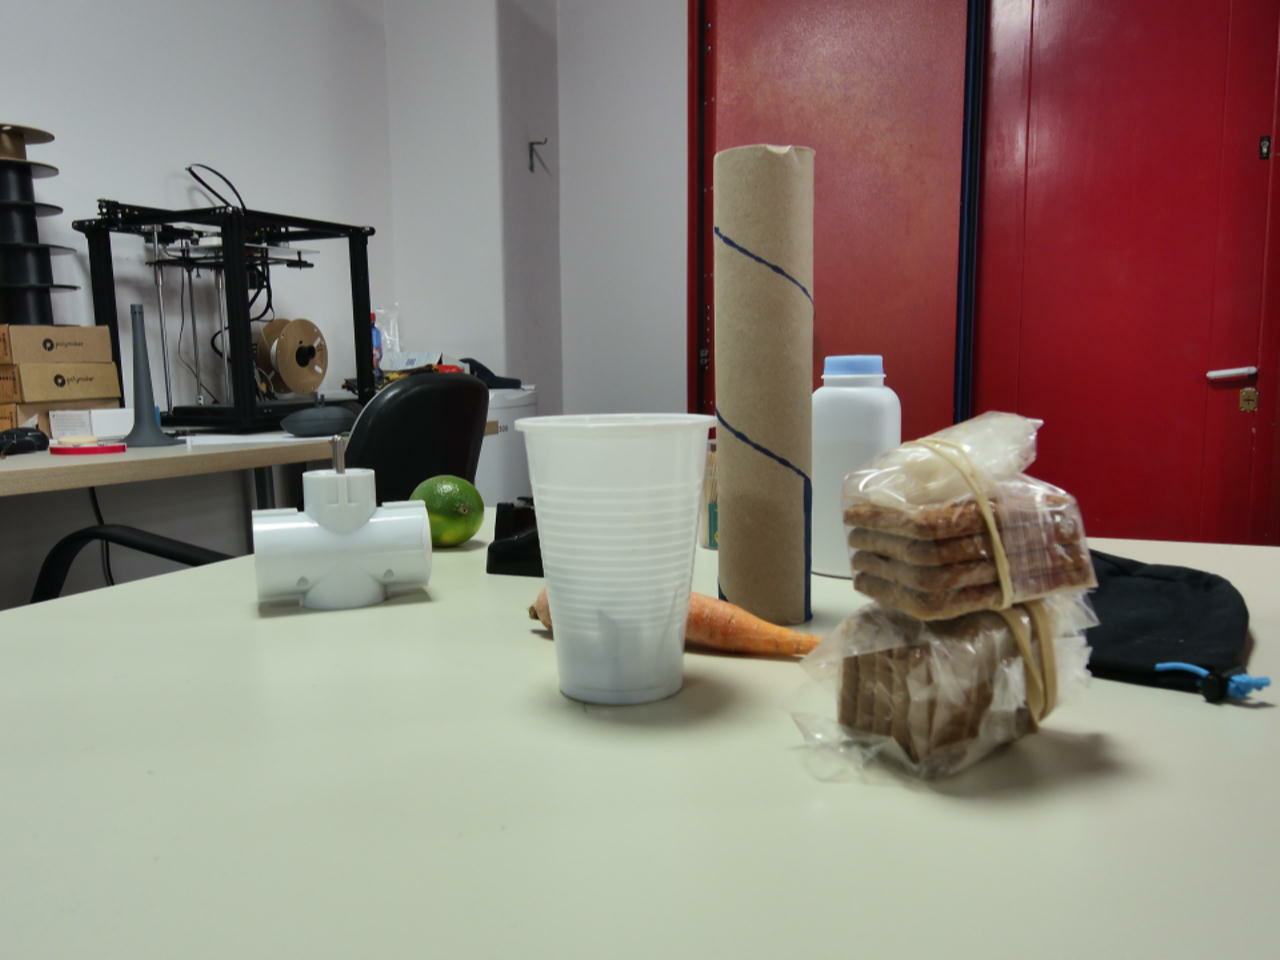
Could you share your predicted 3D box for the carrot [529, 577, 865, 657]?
[{"bbox_3d":[0.021,0.063,0.455,0.163,0.029,0.031,2,4,25],"label":"carrot"}]
